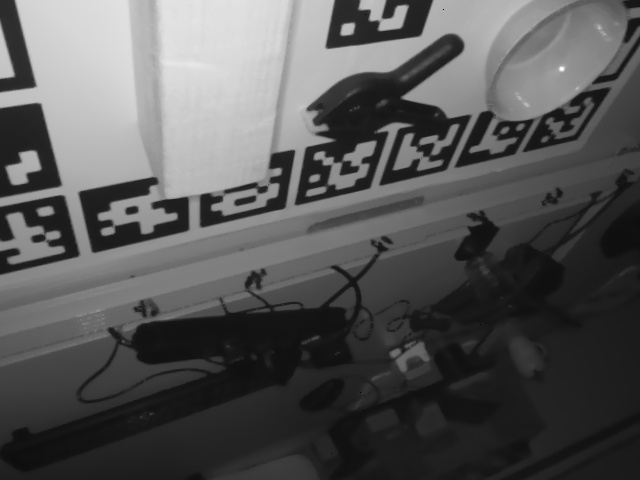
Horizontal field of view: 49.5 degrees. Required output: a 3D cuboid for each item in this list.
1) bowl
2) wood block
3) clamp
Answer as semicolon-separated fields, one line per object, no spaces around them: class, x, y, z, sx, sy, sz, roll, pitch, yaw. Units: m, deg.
bowl;0.235;-0.177;0.738;0.163;0.055;0.160;-19;145;-13
wood block;-0.087;-0.112;0.541;0.091;0.091;0.203;-12;145;-21
clamp;0.077;-0.122;0.719;0.166;0.036;0.121;-19;148;-10
